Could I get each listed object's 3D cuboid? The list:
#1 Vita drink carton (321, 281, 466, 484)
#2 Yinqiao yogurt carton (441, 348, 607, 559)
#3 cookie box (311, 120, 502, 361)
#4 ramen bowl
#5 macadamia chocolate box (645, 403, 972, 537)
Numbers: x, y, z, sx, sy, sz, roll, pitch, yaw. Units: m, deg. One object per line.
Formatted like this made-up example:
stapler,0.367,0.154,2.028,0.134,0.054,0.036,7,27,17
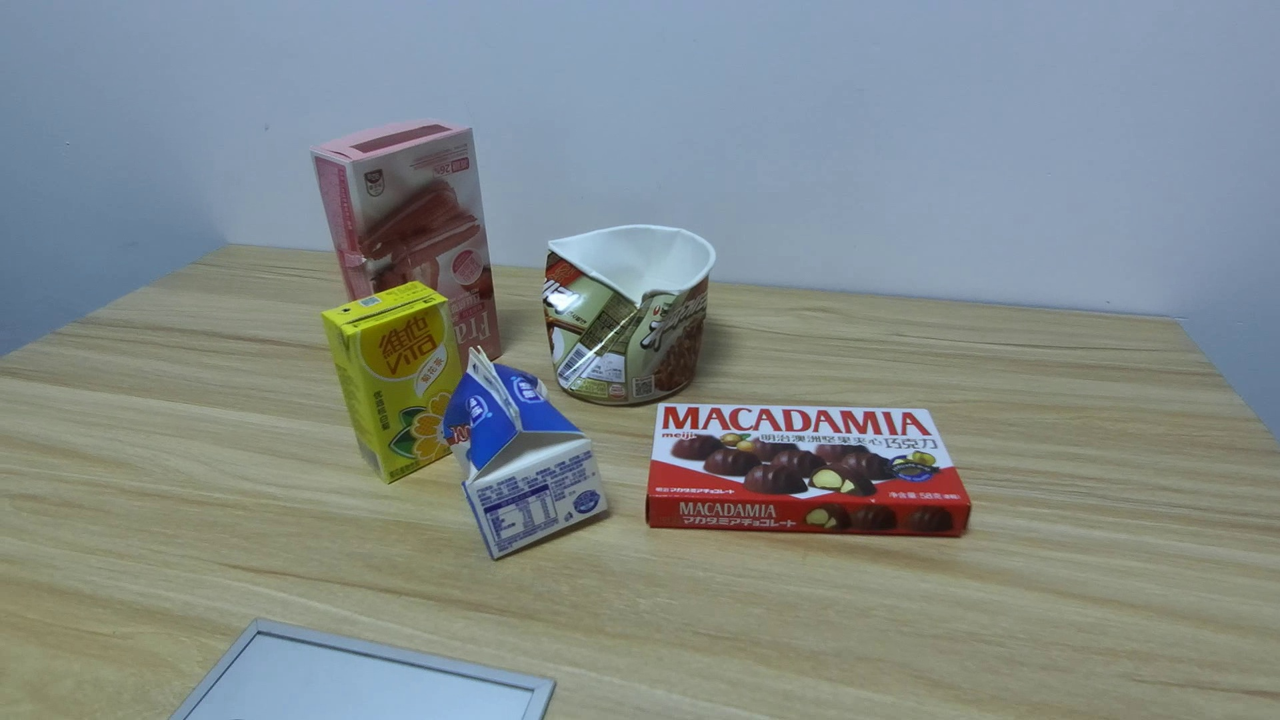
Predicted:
Vita drink carton,-0.151,0.013,0.449,0.067,0.109,0.043,-27,40,-36
Yinqiao yogurt carton,-0.070,0.046,0.403,0.071,0.094,0.077,-20,33,-18
cookie box,-0.162,-0.067,0.507,0.048,0.188,0.105,19,37,31
ramen bowl,-0.003,-0.035,0.533,0.137,0.098,0.137,1,32,0
macadamia chocolate box,0.096,0.064,0.431,0.178,0.027,0.095,1,30,5
